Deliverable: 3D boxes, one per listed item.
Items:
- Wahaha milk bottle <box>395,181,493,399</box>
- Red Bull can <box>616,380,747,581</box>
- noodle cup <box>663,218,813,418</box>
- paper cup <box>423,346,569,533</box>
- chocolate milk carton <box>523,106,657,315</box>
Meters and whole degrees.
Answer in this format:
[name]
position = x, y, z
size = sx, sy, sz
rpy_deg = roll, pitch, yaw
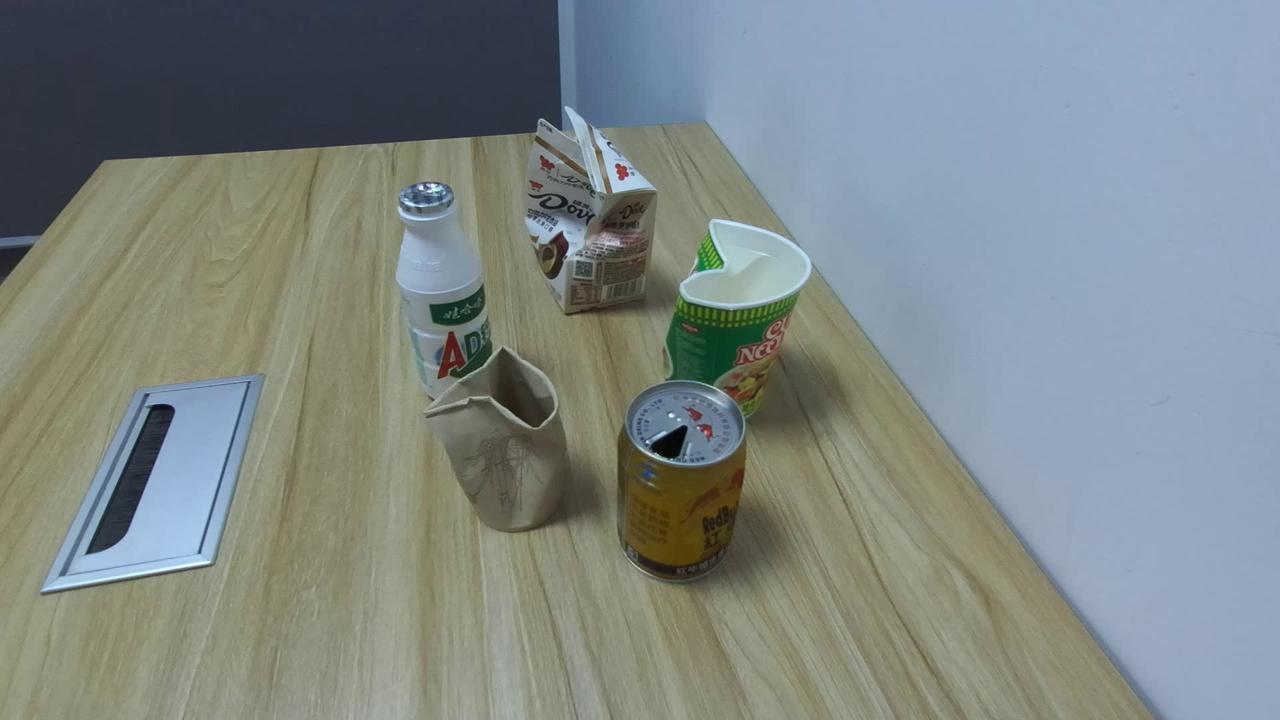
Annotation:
[Wahaha milk bottle]
position = -0.124, -0.039, 0.451
size = 0.053, 0.147, 0.053
rpy_deg = 2, 38, -1
[Red Bull can]
position = 0.021, 0.064, 0.374
size = 0.068, 0.093, 0.068
rpy_deg = 2, 40, -1
[noodle cup]
position = 0.055, -0.017, 0.454
size = 0.086, 0.109, 0.094
rpy_deg = 27, 47, 27
[paper cup]
position = -0.076, 0.050, 0.396
size = 0.058, 0.083, 0.066
rpy_deg = -31, 48, -29
[chocolate milk carton]
position = -0.039, -0.110, 0.540
size = 0.077, 0.155, 0.089
rpy_deg = -19, 58, -17
